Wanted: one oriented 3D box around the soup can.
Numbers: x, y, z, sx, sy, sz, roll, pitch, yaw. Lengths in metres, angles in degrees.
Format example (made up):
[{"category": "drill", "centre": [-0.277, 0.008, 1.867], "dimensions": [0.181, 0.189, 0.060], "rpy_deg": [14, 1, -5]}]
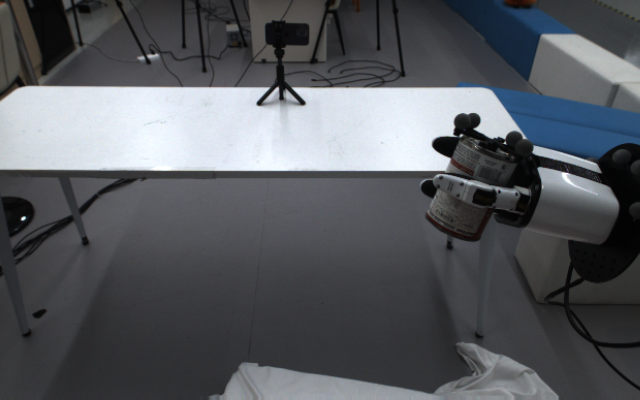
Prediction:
[{"category": "soup can", "centre": [0.171, -0.015, 0.547], "dimensions": [0.067, 0.101, 0.067], "rpy_deg": [17, 21, -7]}]
